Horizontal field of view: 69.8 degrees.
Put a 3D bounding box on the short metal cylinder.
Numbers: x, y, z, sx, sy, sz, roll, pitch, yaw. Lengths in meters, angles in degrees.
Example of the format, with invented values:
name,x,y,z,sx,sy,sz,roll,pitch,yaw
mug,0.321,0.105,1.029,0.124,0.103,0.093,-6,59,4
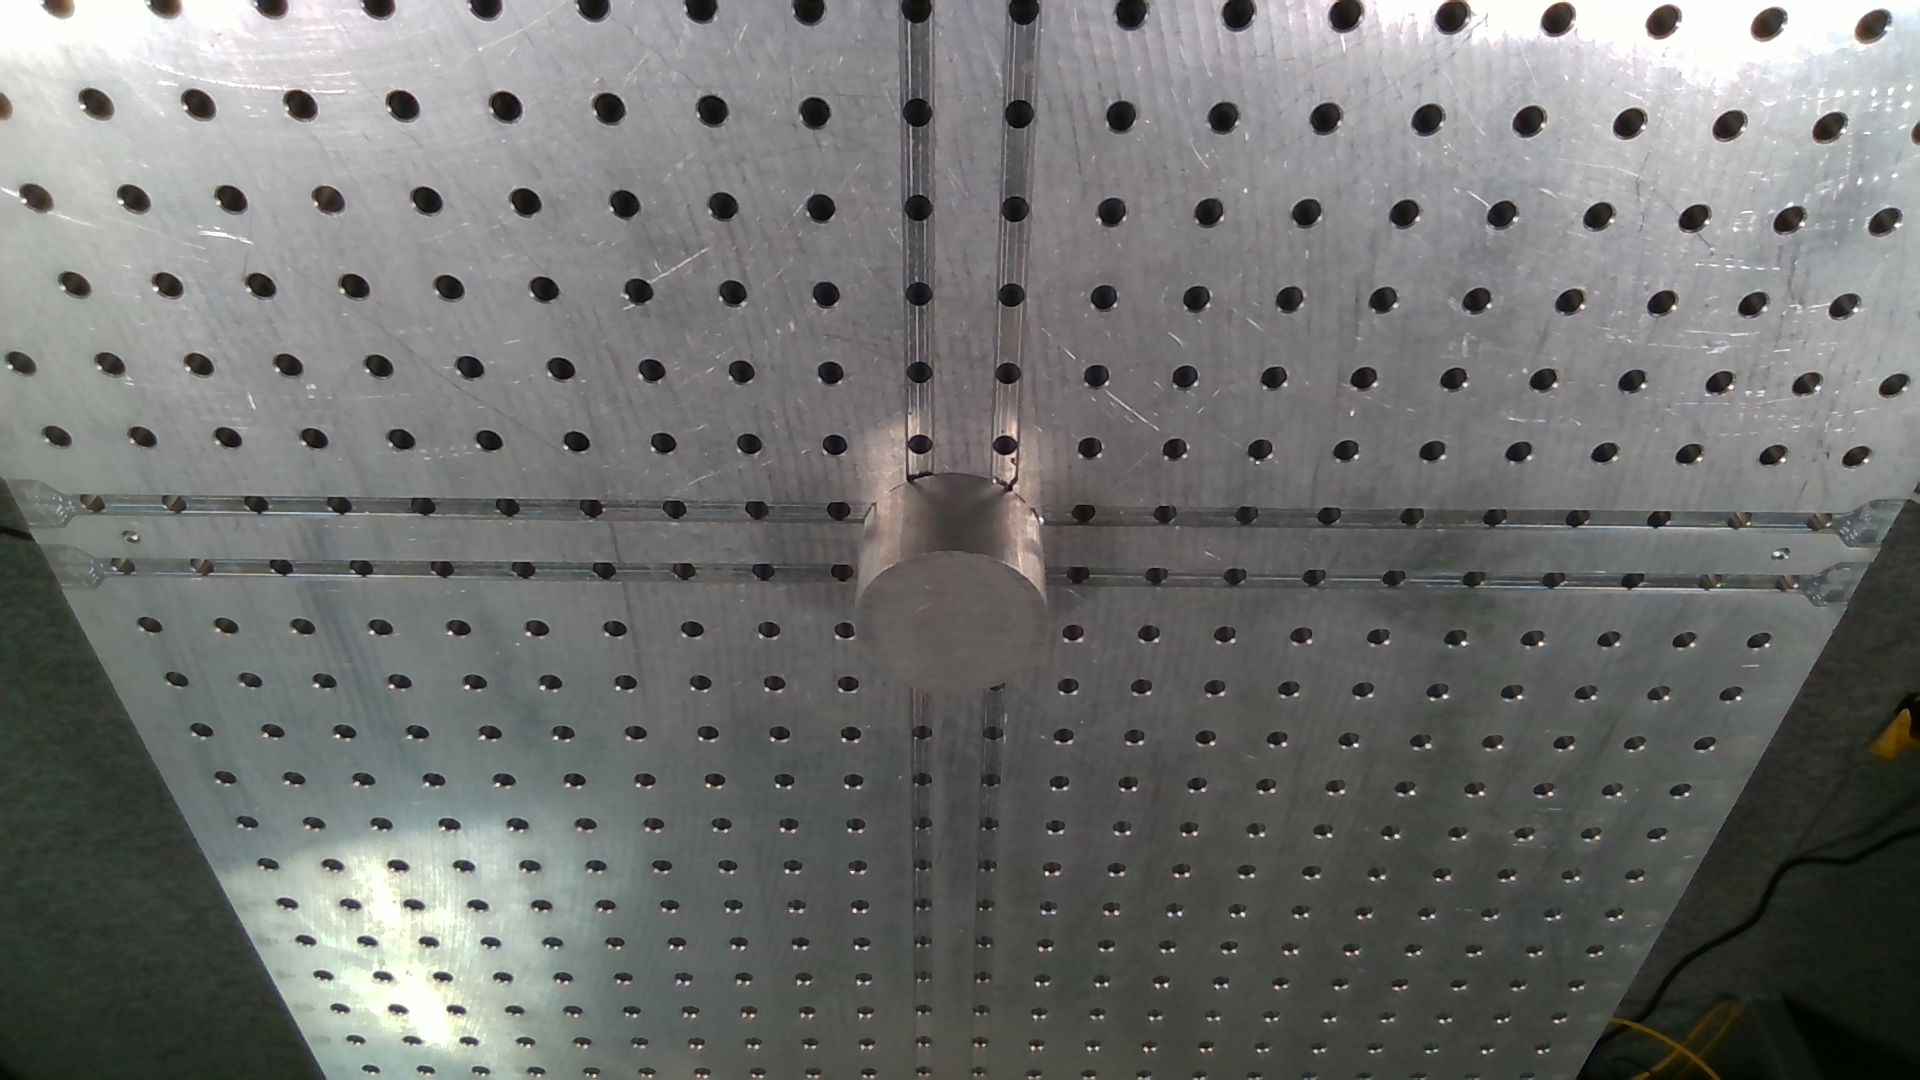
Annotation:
name,x,y,z,sx,sy,sz,roll,pitch,yaw
short metal cylinder,-0.004,0.018,0.581,0.080,0.050,0.080,0,130,0
